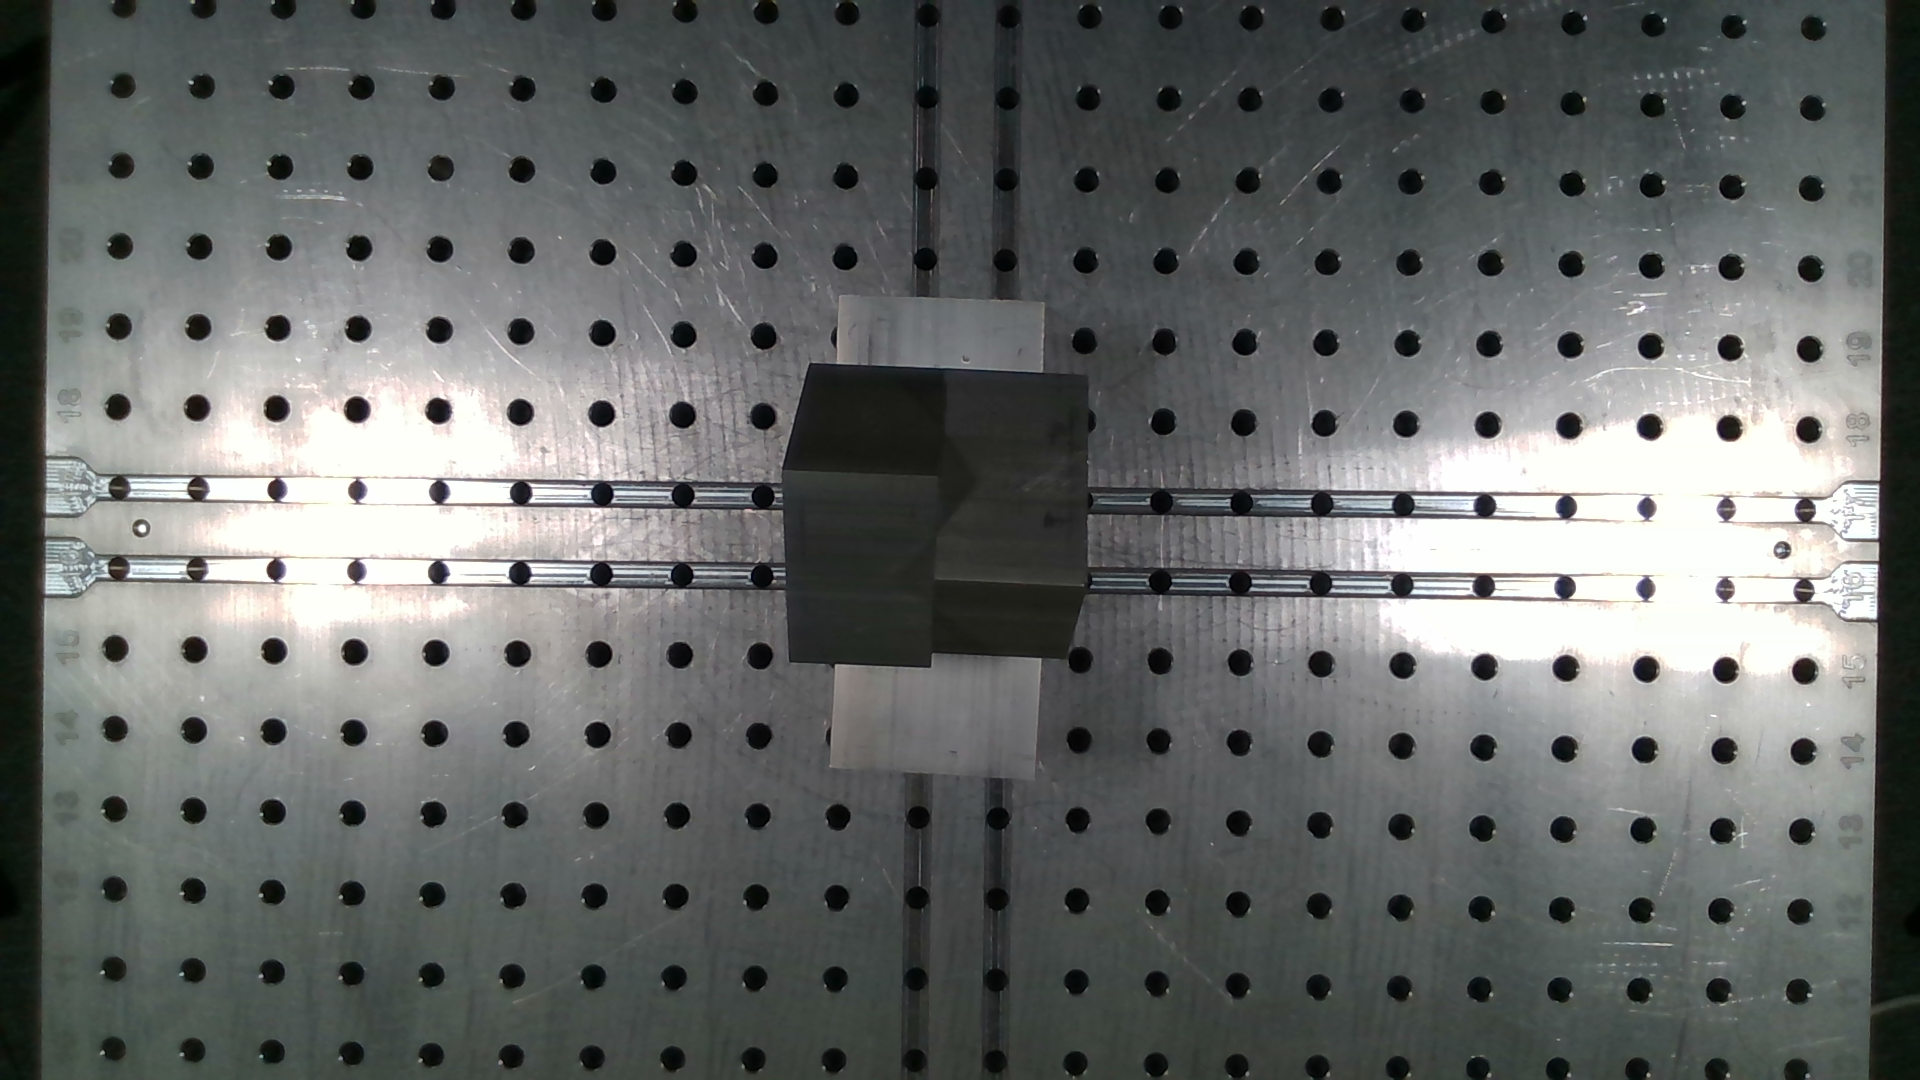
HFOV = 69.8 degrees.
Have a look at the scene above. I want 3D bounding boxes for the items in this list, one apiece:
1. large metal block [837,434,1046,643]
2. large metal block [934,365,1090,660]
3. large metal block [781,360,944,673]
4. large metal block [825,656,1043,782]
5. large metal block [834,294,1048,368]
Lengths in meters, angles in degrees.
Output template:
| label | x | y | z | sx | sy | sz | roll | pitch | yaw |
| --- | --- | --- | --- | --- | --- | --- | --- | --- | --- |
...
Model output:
| label | x | y | z | sx | sy | sz | roll | pitch | yaw |
| --- | --- | --- | --- | --- | --- | --- | --- | --- | --- |
| large metal block | -0.007 | 0.000 | 0.575 | 0.080 | 0.050 | 0.080 | 3 | 90 | 0 |
| large metal block | 0.017 | -0.007 | 0.498 | 0.050 | 0.080 | 0.080 | 3 | 68 | -1 |
| large metal block | -0.033 | -0.010 | 0.495 | 0.050 | 0.080 | 0.080 | 3 | 123 | -1 |
| large metal block | -0.010 | 0.064 | 0.562 | 0.080 | 0.080 | 0.050 | 4 | 90 | 0 |
| large metal block | -0.008 | -0.067 | 0.561 | 0.080 | 0.080 | 0.050 | 2 | 90 | 0 |
